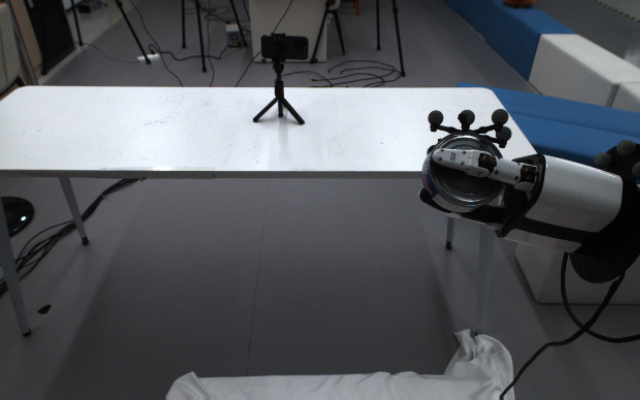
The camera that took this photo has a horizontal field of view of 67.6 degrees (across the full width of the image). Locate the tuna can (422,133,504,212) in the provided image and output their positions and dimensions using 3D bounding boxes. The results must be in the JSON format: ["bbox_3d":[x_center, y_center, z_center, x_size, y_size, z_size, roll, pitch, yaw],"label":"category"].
[{"bbox_3d":[0.160,-0.035,0.539,0.085,0.034,0.085,1,74,-4],"label":"tuna can"}]
